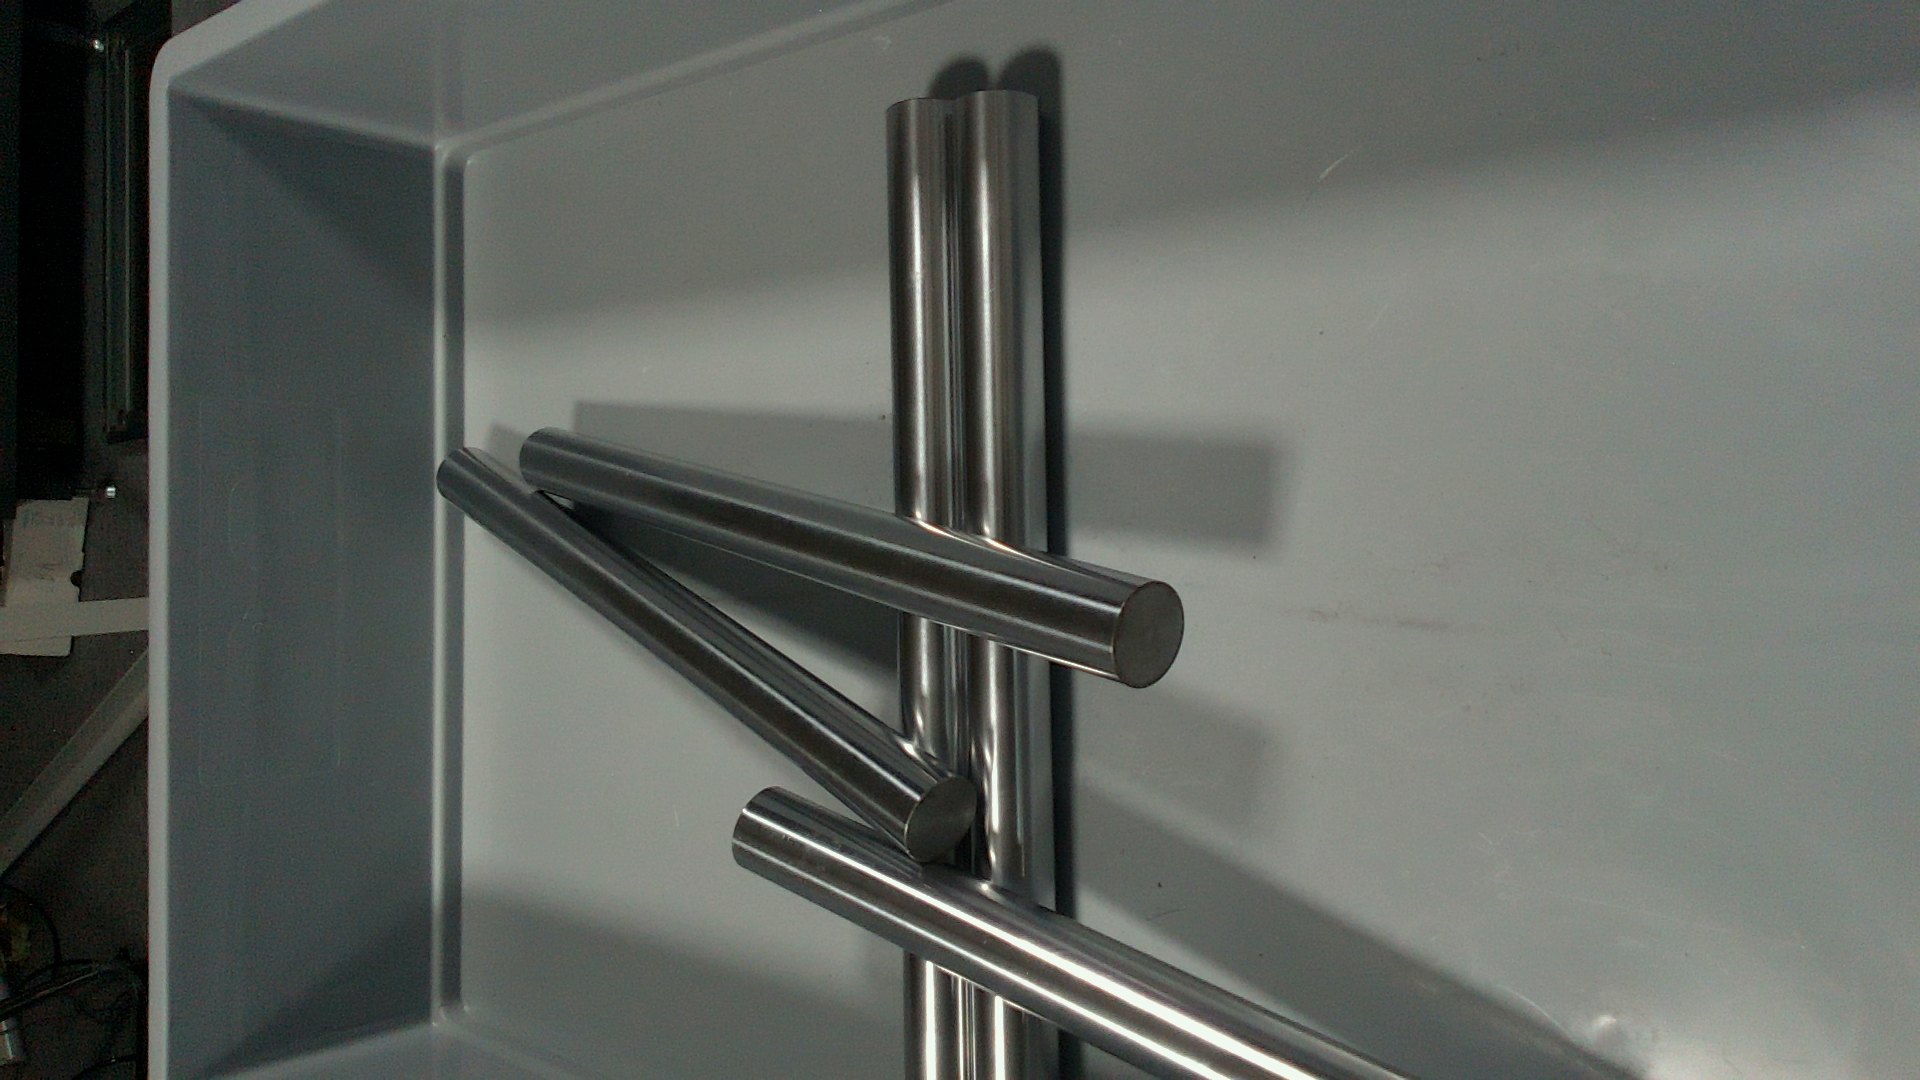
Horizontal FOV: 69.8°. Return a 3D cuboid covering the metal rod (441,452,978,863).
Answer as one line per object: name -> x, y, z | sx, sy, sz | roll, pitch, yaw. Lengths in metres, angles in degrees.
metal rod -> -0.103, 0.024, 0.463 | 0.299, 0.025, 0.025 | 27, 107, 43

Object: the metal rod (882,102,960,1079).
metal rod -> -0.008, 0.027, 0.398 | 0.025, 0.025, 0.300 | -2, 89, 40

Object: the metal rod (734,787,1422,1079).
metal rod -> 0.063, 0.119, 0.318 | 0.299, 0.025, 0.025 | 16, 101, 33

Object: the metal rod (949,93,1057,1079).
metal rod -> 0.012, 0.030, 0.381 | 0.025, 0.025, 0.300 | -2, 89, 40

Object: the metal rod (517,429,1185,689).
metal rod -> -0.057, -0.005, 0.416 | 0.299, 0.025, 0.025 | 15, 99, 47
